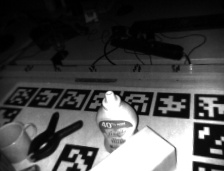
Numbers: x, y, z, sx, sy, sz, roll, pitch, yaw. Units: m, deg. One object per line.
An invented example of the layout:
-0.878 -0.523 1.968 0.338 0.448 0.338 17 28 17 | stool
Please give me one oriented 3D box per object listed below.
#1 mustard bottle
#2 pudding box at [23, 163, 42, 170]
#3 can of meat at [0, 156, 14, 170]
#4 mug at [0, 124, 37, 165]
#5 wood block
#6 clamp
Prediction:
0.008 0.076 0.511 0.095 0.193 0.058 -5 43 14 | mustard bottle
-0.213 0.250 0.503 0.114 0.039 0.089 -26 42 -14 | pudding box
-0.307 0.216 0.529 0.102 0.084 0.057 -21 42 -6 | can of meat
-0.265 0.164 0.619 0.092 0.082 0.118 18 52 33 | mug
0.036 0.187 0.463 0.207 0.092 0.088 -34 42 -23 | wood block
-0.177 0.140 0.626 0.120 0.037 0.166 16 52 30 | clamp
